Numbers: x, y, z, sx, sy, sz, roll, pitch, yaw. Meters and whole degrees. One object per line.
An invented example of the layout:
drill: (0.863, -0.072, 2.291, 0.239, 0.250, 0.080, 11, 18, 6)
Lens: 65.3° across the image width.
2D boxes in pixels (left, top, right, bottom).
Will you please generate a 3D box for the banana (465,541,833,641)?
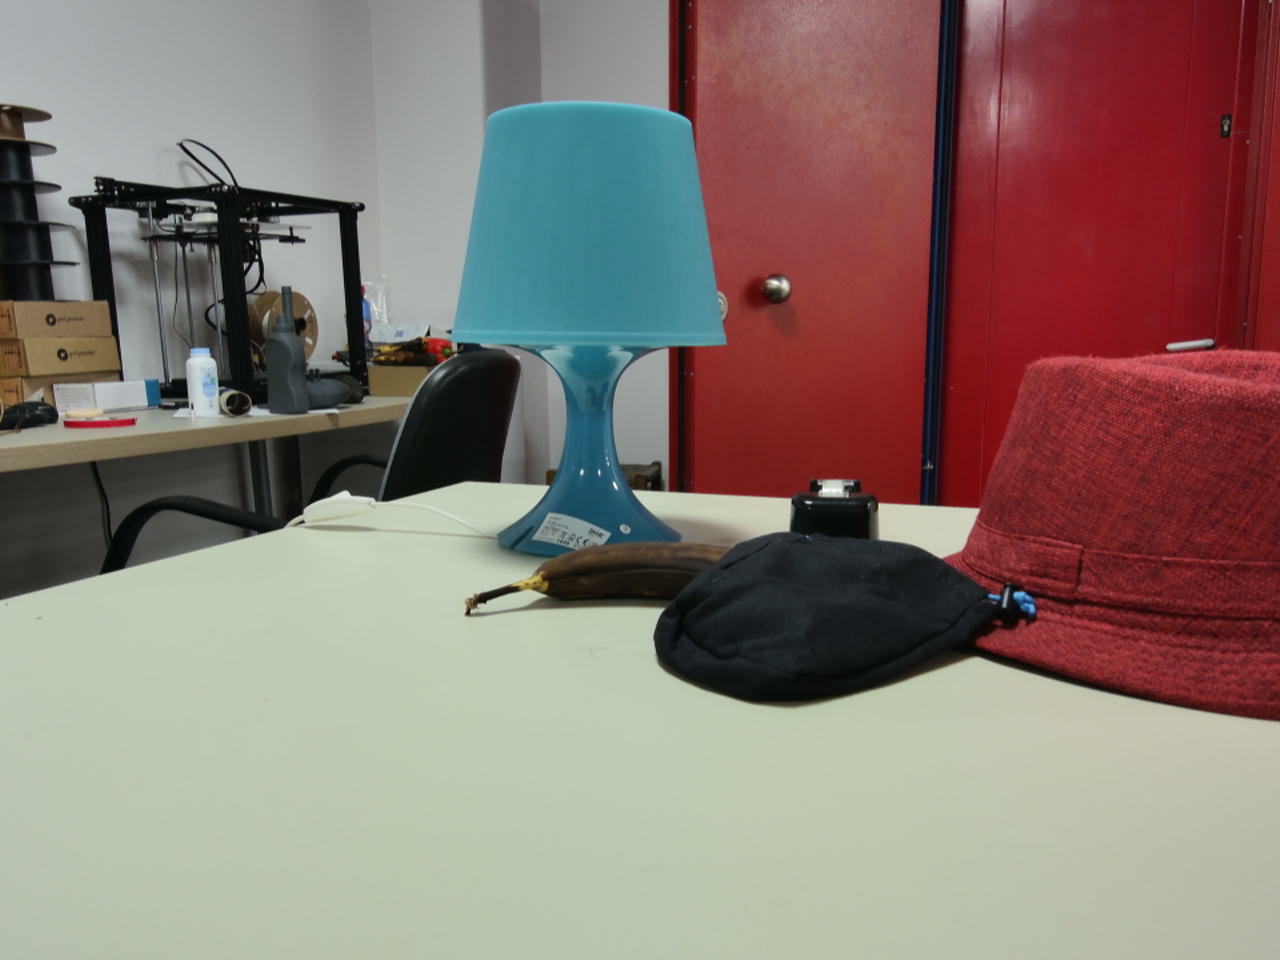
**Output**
banana: (0.013, 0.053, 0.526, 0.188, 0.033, 0.091, 3, 7, 25)
